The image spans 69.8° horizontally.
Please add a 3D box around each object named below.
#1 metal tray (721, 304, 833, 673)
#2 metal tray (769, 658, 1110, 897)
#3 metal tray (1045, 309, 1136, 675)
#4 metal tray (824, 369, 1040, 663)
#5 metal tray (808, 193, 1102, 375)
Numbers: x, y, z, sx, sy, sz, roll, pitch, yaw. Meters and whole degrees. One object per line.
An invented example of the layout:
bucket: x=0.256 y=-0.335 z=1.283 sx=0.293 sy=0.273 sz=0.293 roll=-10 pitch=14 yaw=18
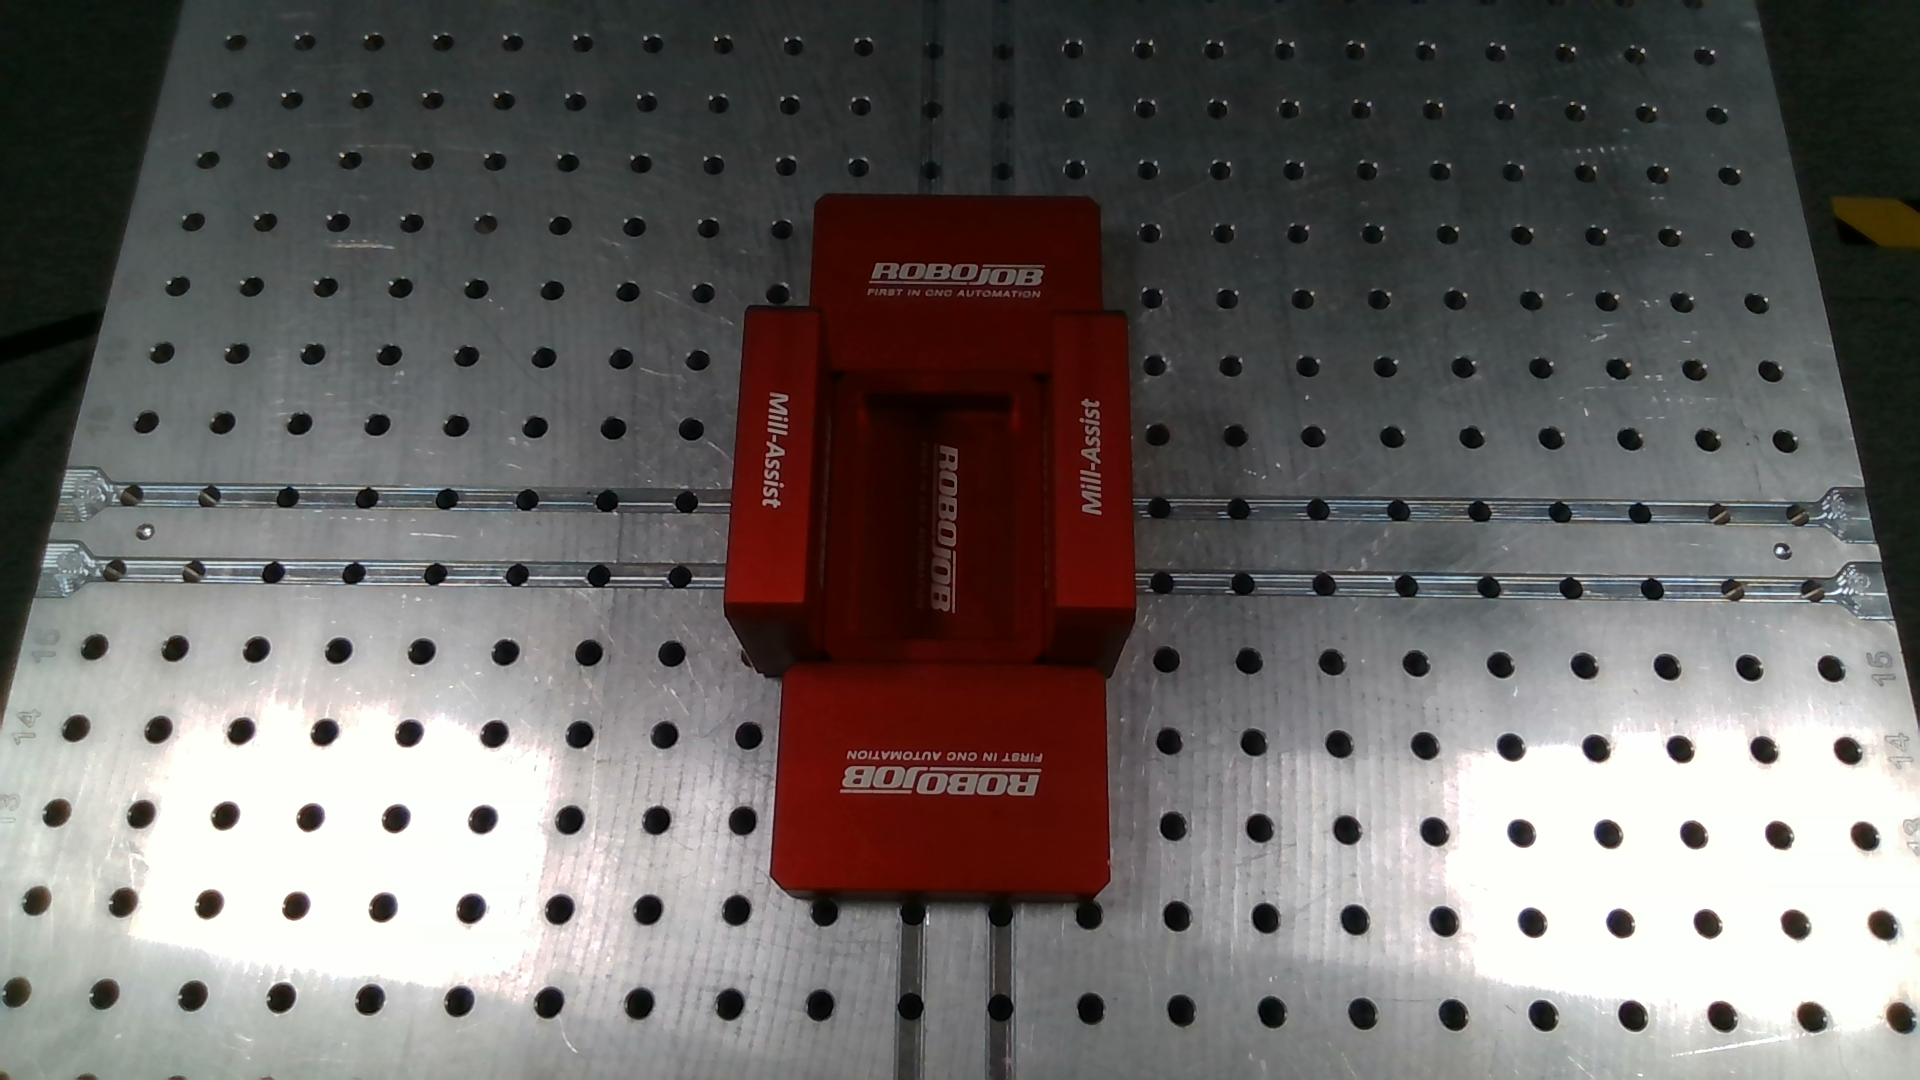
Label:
metal tray: x=-0.071 y=-0.019 z=0.561 sx=0.030 sy=0.090 sz=0.130 roll=1 pitch=70 yaw=0
metal tray: x=-0.007 y=0.096 z=0.552 sx=0.130 sy=0.030 sz=0.090 roll=1 pitch=71 yaw=0
metal tray: x=0.050 y=-0.017 z=0.562 sx=0.030 sy=0.090 sz=0.130 roll=1 pitch=70 yaw=0
metal tray: x=-0.010 y=-0.008 z=0.588 sx=0.090 sy=0.030 sz=0.130 roll=1 pitch=70 yaw=0
metal tray: x=-0.002 y=-0.111 z=0.627 sx=0.130 sy=0.030 sz=0.090 roll=1 pitch=70 yaw=0
